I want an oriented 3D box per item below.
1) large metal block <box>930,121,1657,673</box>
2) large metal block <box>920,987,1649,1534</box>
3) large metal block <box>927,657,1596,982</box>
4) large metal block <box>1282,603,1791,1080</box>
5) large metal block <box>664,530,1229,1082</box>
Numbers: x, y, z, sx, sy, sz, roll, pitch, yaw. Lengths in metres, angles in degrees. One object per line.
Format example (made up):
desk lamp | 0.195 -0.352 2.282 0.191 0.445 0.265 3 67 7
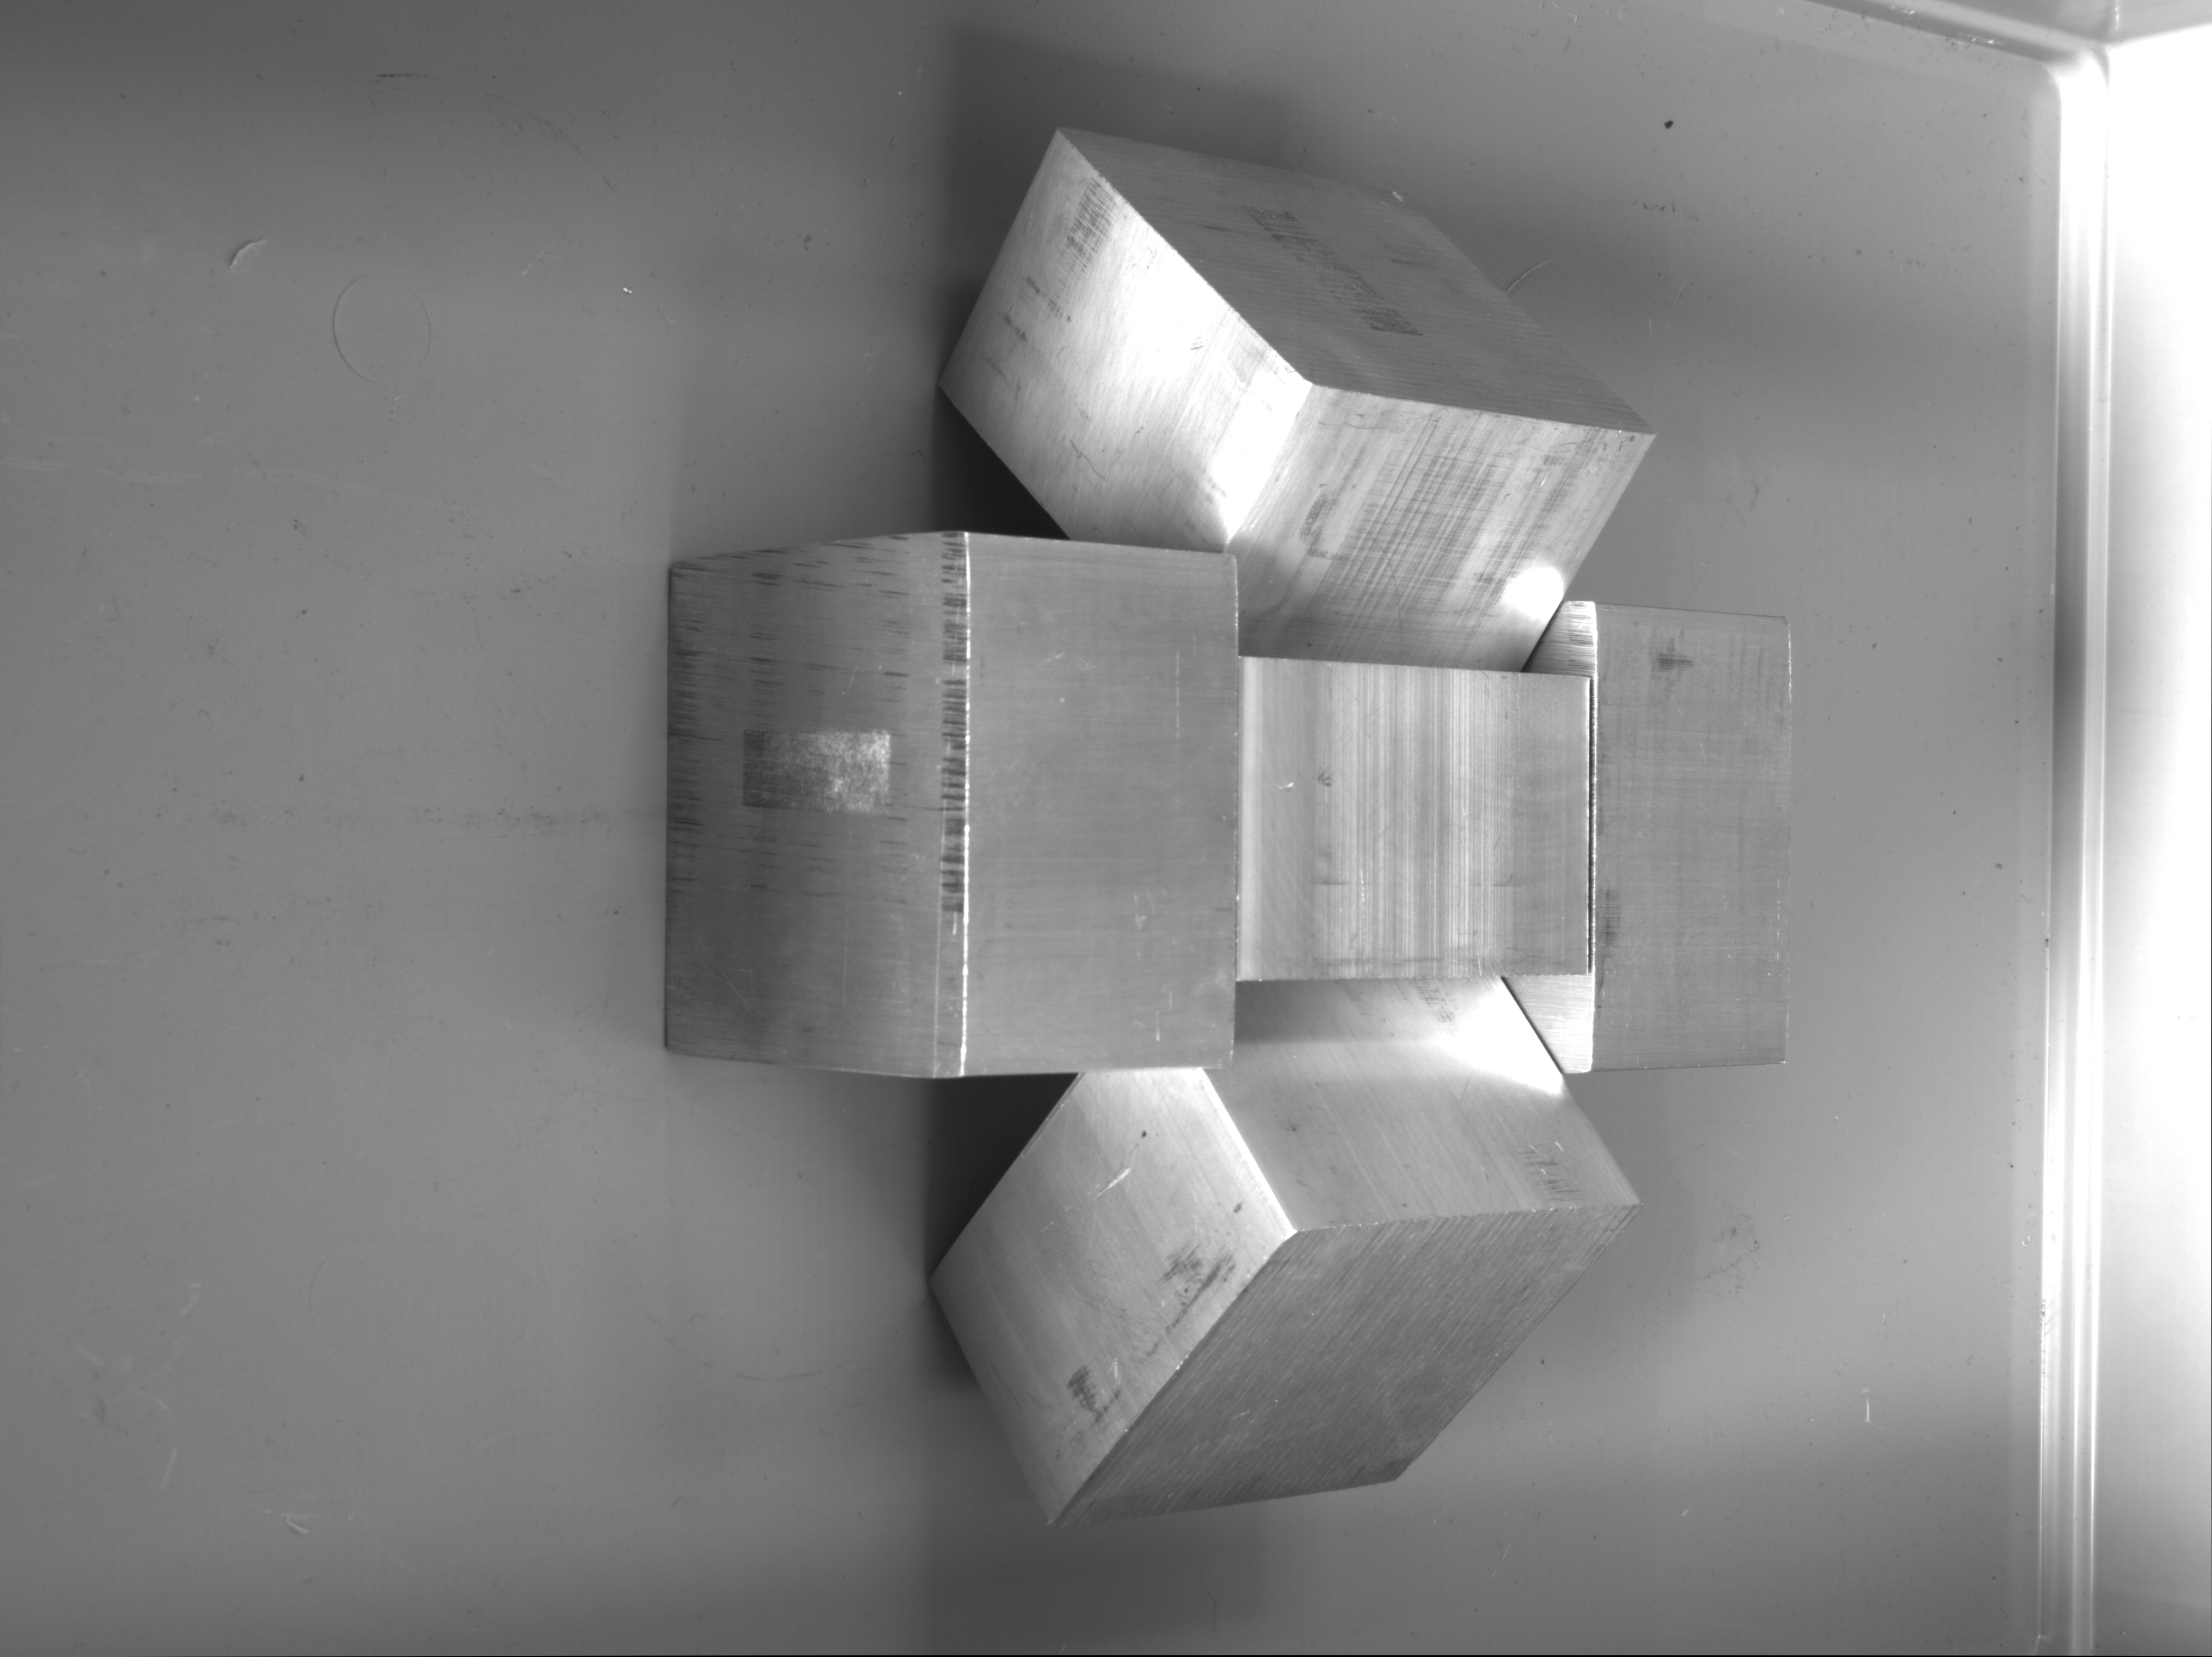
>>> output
large metal block | 0.030 -0.071 0.617 0.080 0.080 0.050 2 126 -40
large metal block | 0.029 0.070 0.614 0.080 0.080 0.050 1 47 -41
large metal block | 0.026 -0.001 0.620 0.080 0.080 0.050 1 89 -40
large metal block | 0.076 0.003 0.662 0.050 0.080 0.080 1 89 -40
large metal block | -0.026 -0.003 0.577 0.050 0.080 0.080 1 89 -40
